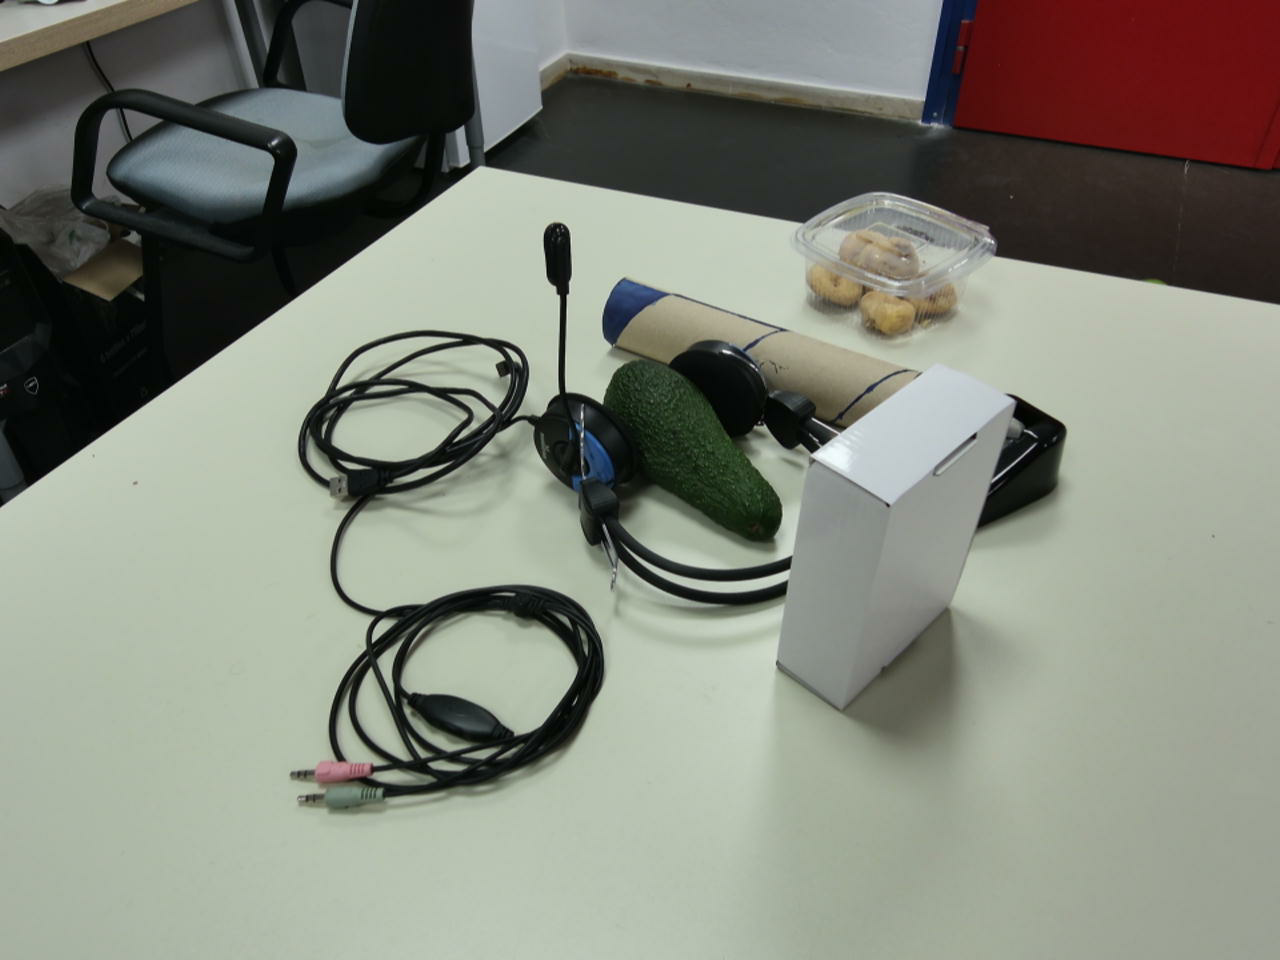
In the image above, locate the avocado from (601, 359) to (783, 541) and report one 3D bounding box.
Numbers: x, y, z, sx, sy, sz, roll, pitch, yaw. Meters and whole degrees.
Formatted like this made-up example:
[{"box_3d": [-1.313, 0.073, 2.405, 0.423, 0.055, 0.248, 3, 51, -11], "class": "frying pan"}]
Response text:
[{"box_3d": [0.033, -0.024, 0.585, 0.141, 0.067, 0.063, 28, 46, 31], "class": "avocado"}]
